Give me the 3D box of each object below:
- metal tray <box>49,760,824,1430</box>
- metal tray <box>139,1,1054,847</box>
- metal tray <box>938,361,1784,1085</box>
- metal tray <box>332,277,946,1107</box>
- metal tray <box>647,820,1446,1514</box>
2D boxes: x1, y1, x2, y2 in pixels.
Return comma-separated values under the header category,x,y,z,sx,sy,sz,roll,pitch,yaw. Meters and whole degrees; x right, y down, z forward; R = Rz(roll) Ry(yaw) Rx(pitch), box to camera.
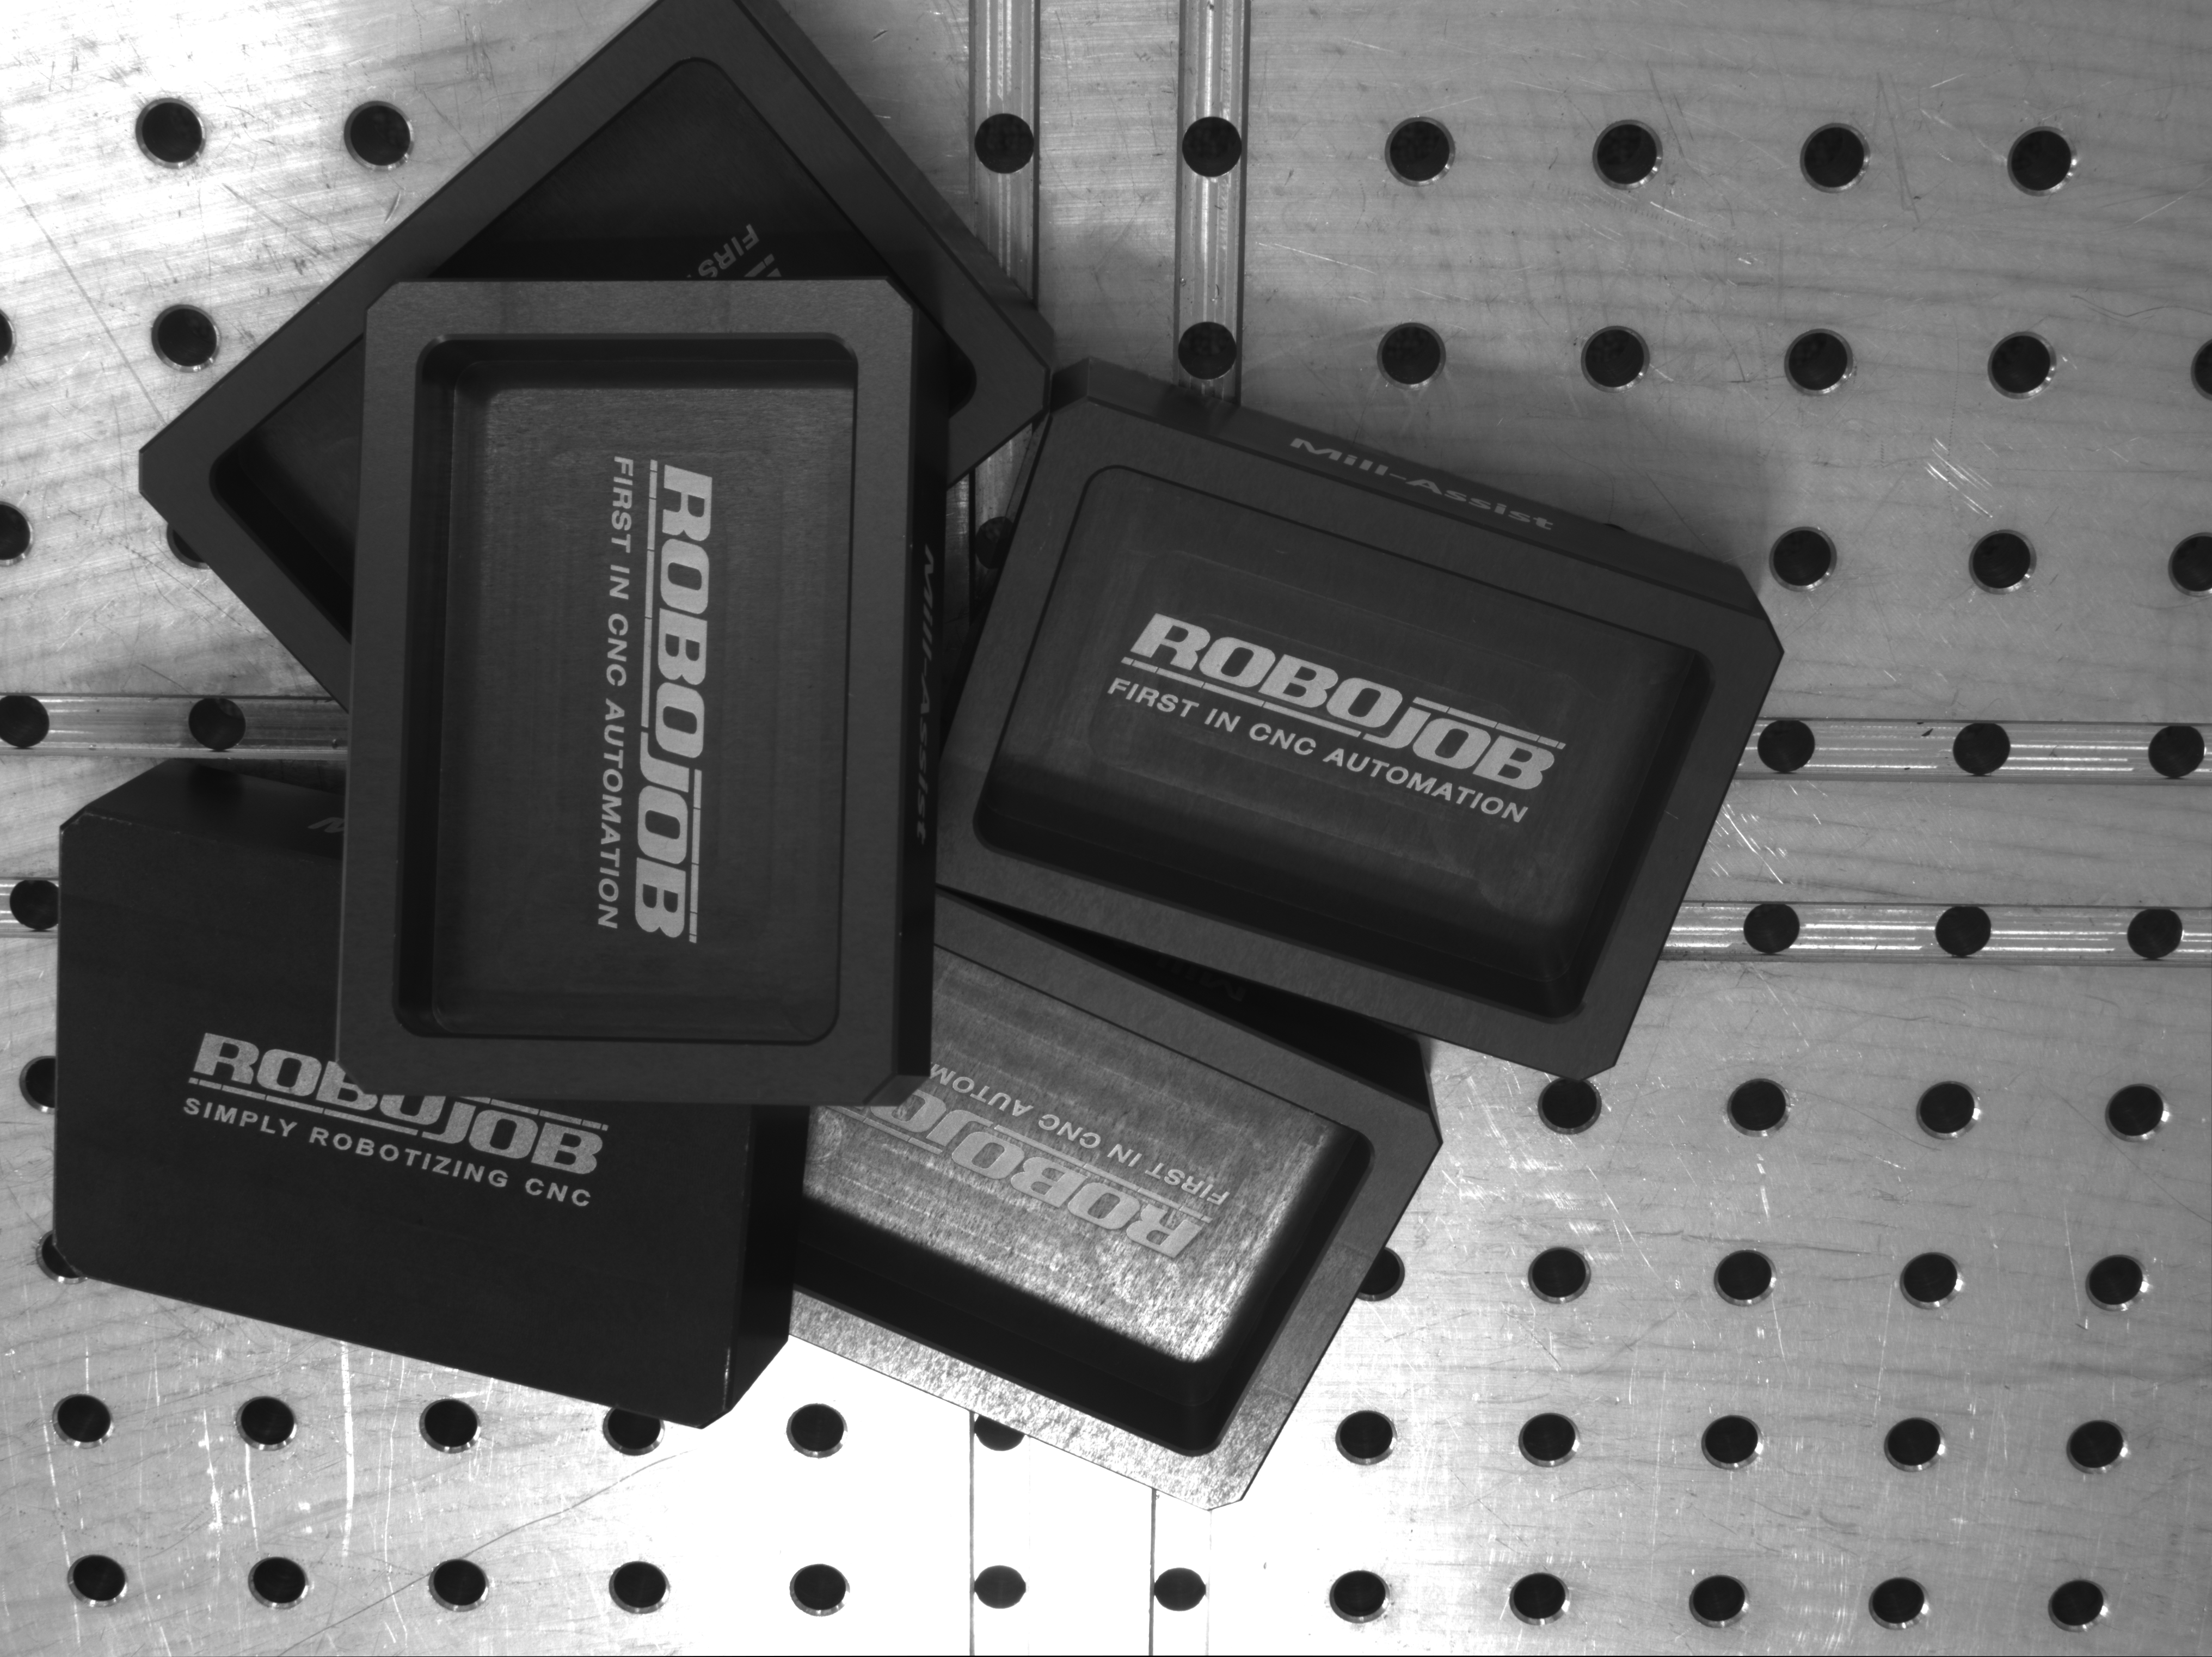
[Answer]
category,x,y,z,sx,sy,sz,roll,pitch,yaw
metal tray,-0.118,0.046,0.643,0.130,0.030,0.090,11,111,11
metal tray,-0.085,-0.070,0.617,0.130,0.030,0.090,-38,105,13
metal tray,0.040,-0.018,0.636,0.130,0.030,0.090,17,110,-6
metal tray,-0.074,-0.021,0.591,0.090,0.030,0.130,1,86,7
metal tray,-0.016,0.059,0.664,0.130,0.030,0.090,24,109,-8
